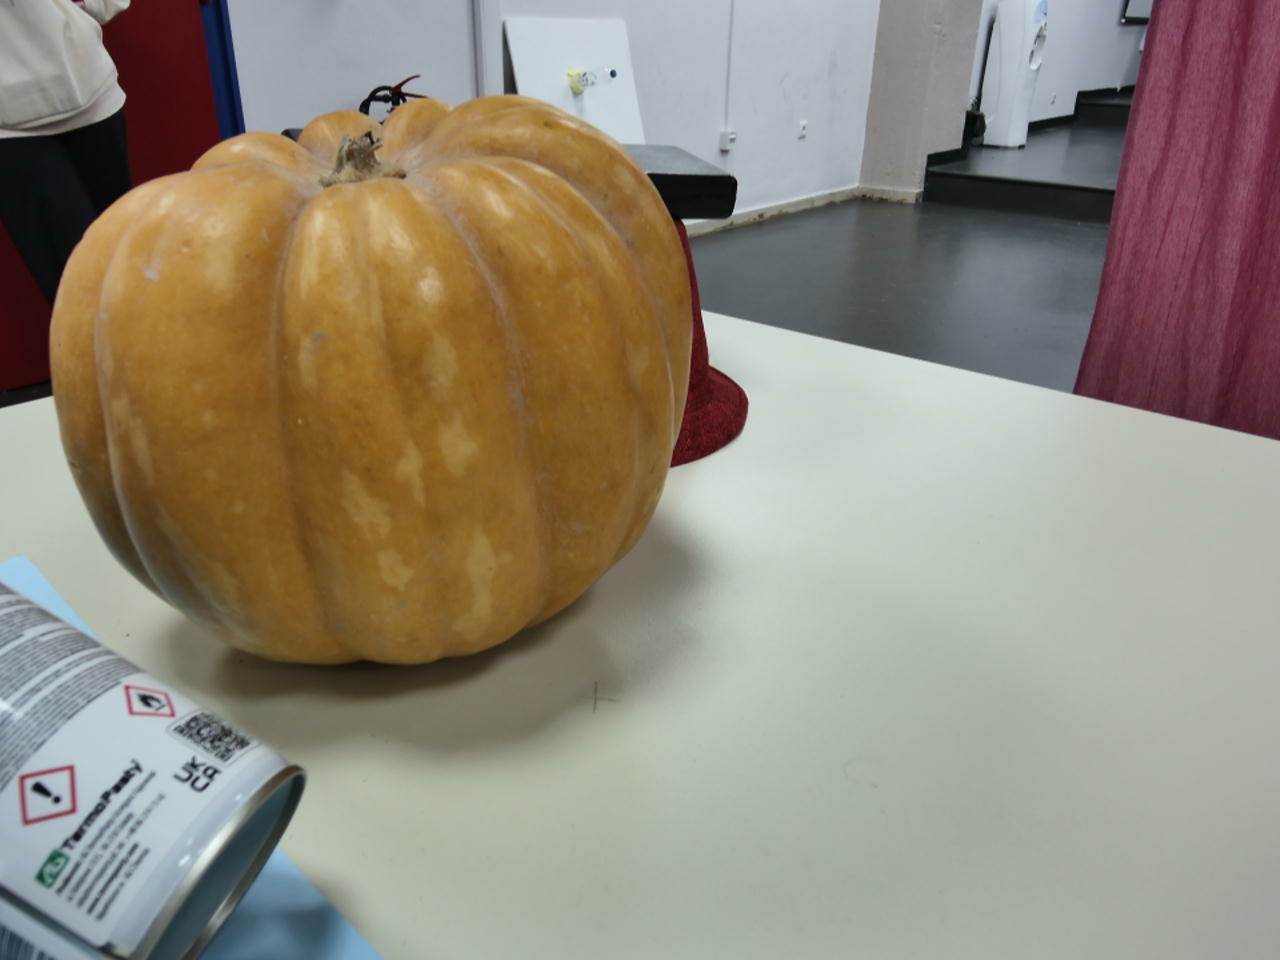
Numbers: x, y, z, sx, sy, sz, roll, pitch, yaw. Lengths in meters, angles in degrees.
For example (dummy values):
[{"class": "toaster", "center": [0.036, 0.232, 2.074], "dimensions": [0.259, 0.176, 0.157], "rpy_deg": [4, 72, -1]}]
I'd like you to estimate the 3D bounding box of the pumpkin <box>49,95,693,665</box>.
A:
[{"class": "pumpkin", "center": [-0.090, -0.039, 0.376], "dimensions": [0.230, 0.194, 0.230], "rpy_deg": [1, 24, 0]}]
